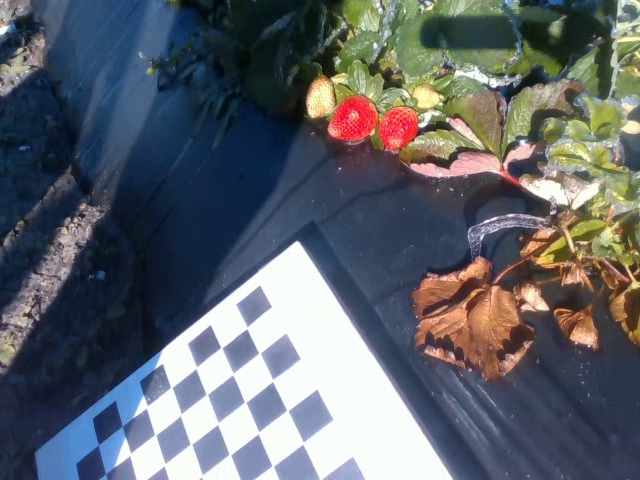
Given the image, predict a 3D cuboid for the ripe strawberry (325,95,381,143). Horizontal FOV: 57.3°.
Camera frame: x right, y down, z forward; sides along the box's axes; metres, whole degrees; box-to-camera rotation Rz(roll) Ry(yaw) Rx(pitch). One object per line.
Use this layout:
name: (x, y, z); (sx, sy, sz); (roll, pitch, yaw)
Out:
ripe strawberry: (0.022, -0.091, 0.451); (0.036, 0.040, 0.051); (9, 32, 33)

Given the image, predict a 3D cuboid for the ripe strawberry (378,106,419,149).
ripe strawberry: (0.062, -0.086, 0.448); (0.036, 0.041, 0.030); (-16, -38, 22)
